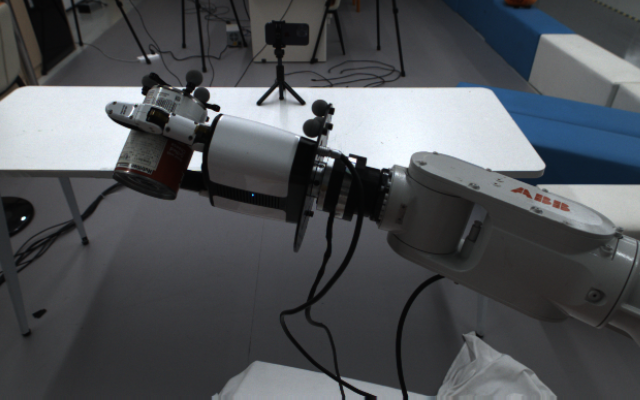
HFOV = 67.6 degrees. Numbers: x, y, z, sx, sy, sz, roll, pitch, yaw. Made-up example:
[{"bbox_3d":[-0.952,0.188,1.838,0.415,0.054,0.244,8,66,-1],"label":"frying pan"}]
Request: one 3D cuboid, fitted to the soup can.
[{"bbox_3d":[-0.165,-0.058,0.510,0.067,0.067,0.101,11,72,13],"label":"soup can"}]
